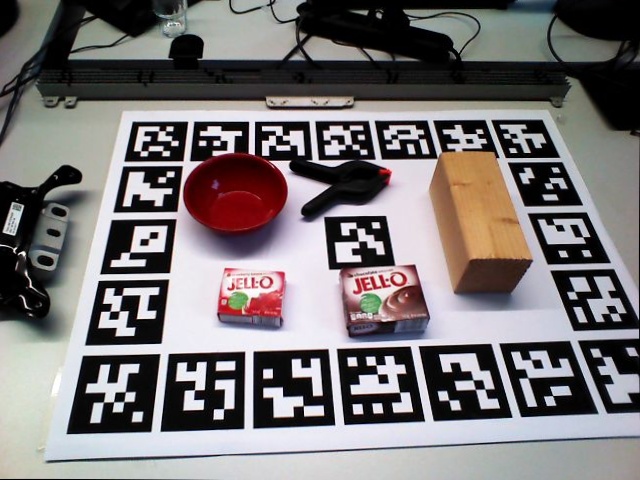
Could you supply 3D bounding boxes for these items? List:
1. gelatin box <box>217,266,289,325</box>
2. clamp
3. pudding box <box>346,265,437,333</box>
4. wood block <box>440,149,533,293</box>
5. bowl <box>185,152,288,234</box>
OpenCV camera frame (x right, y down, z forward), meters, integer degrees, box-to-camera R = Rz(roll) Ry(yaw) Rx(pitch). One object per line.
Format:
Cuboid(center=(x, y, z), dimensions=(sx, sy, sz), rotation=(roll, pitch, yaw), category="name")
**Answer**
Cuboid(center=(-0.091, 0.075, 0.717), dimensions=(0.089, 0.030, 0.073), rotation=(5, 56, 1), category="gelatin box")
Cuboid(center=(0.033, -0.096, 0.853), dimensions=(0.165, 0.037, 0.121), rotation=(-9, 55, -11), category="clamp")
Cuboid(center=(0.096, 0.081, 0.719), dimensions=(0.114, 0.039, 0.089), rotation=(-3, 58, -2), category="pudding box")
Cuboid(center=(0.249, -0.032, 0.774), dimensions=(0.090, 0.091, 0.205), rotation=(1, 55, -3), category="wood block")
Cuboid(center=(-0.125, -0.065, 0.810), dimensions=(0.162, 0.055, 0.160), rotation=(2, 57, -3), category="bowl")
